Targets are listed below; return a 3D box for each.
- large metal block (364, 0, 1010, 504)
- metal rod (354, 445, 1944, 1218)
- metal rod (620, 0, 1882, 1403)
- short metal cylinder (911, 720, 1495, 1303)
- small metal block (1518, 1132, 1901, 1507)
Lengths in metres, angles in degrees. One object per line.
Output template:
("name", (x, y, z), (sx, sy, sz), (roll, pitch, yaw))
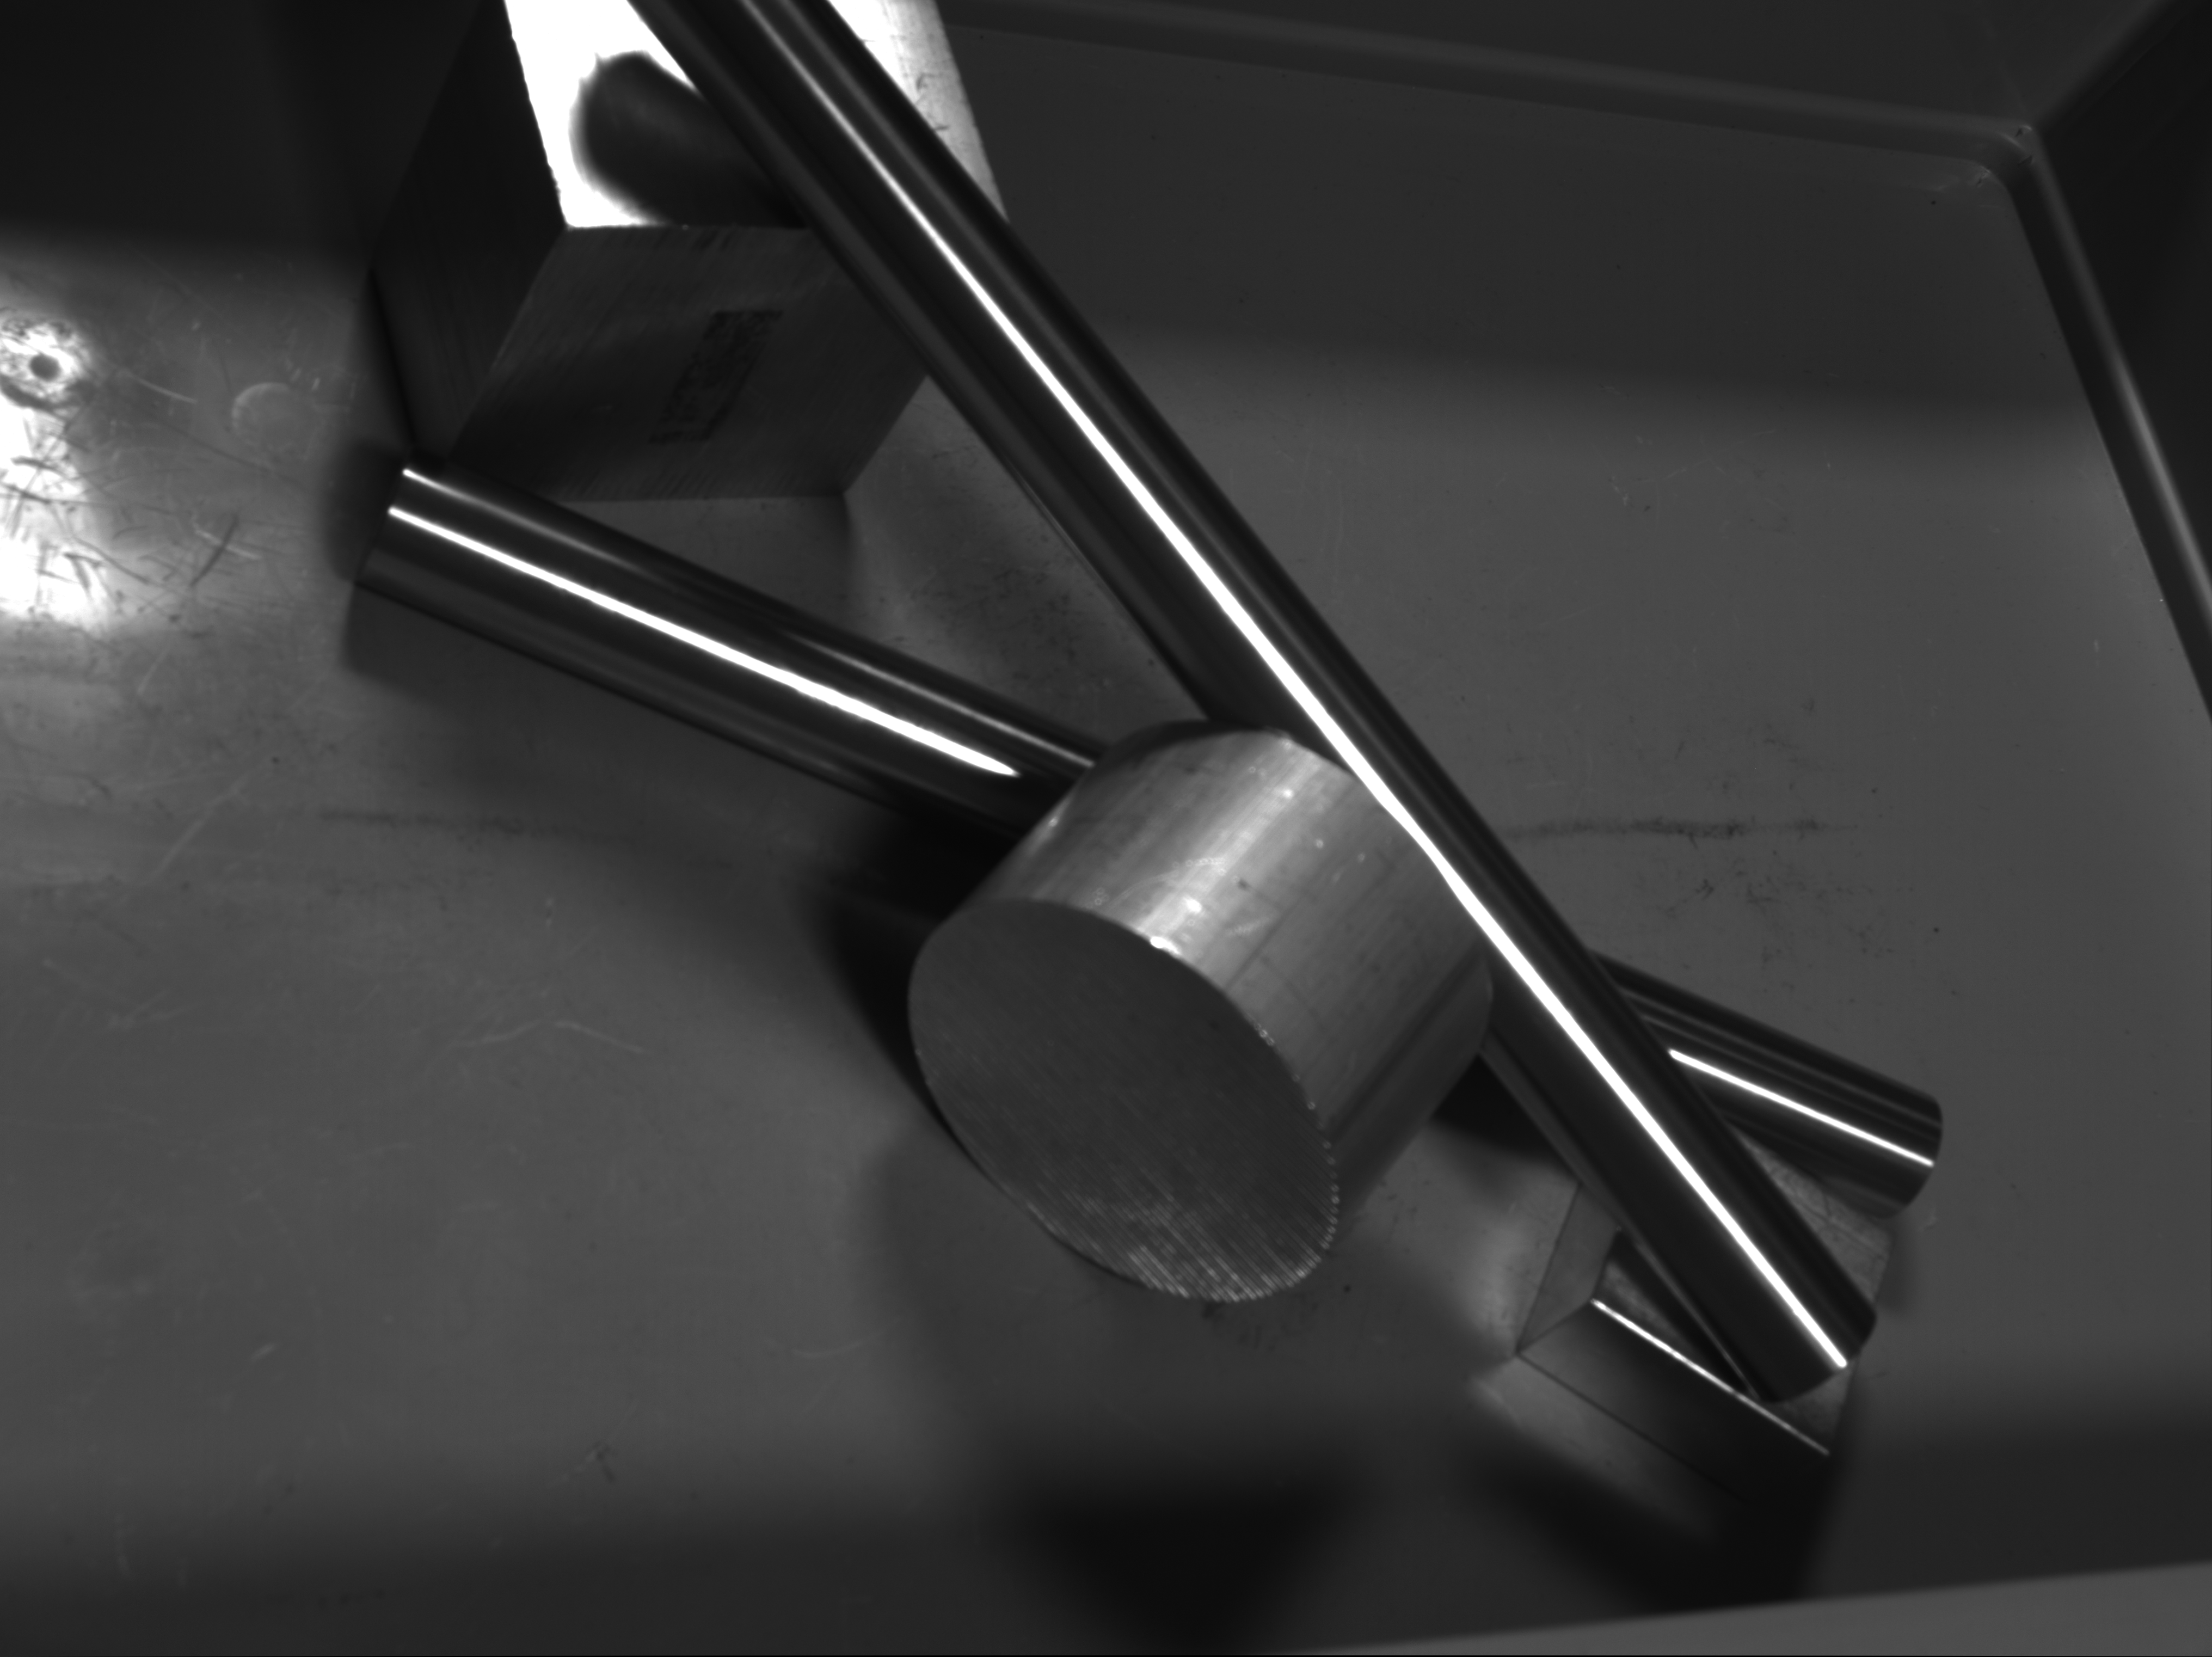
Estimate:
("large metal block", (-0.073, -0.098, 0.625), (0.080, 0.080, 0.050), (-4, 63, -30))
("metal rod", (0.014, 0.004, 0.644), (0.300, 0.025, 0.025), (23, 53, -14))
("metal rod", (0.025, -0.026, 0.594), (0.300, 0.025, 0.025), (50, 50, -8))
("short metal cylinder", (0.016, 0.030, 0.592), (0.080, 0.080, 0.050), (43, 51, 1))
("small metal block", (0.107, 0.082, 0.646), (0.050, 0.025, 0.050), (33, 51, -6))
